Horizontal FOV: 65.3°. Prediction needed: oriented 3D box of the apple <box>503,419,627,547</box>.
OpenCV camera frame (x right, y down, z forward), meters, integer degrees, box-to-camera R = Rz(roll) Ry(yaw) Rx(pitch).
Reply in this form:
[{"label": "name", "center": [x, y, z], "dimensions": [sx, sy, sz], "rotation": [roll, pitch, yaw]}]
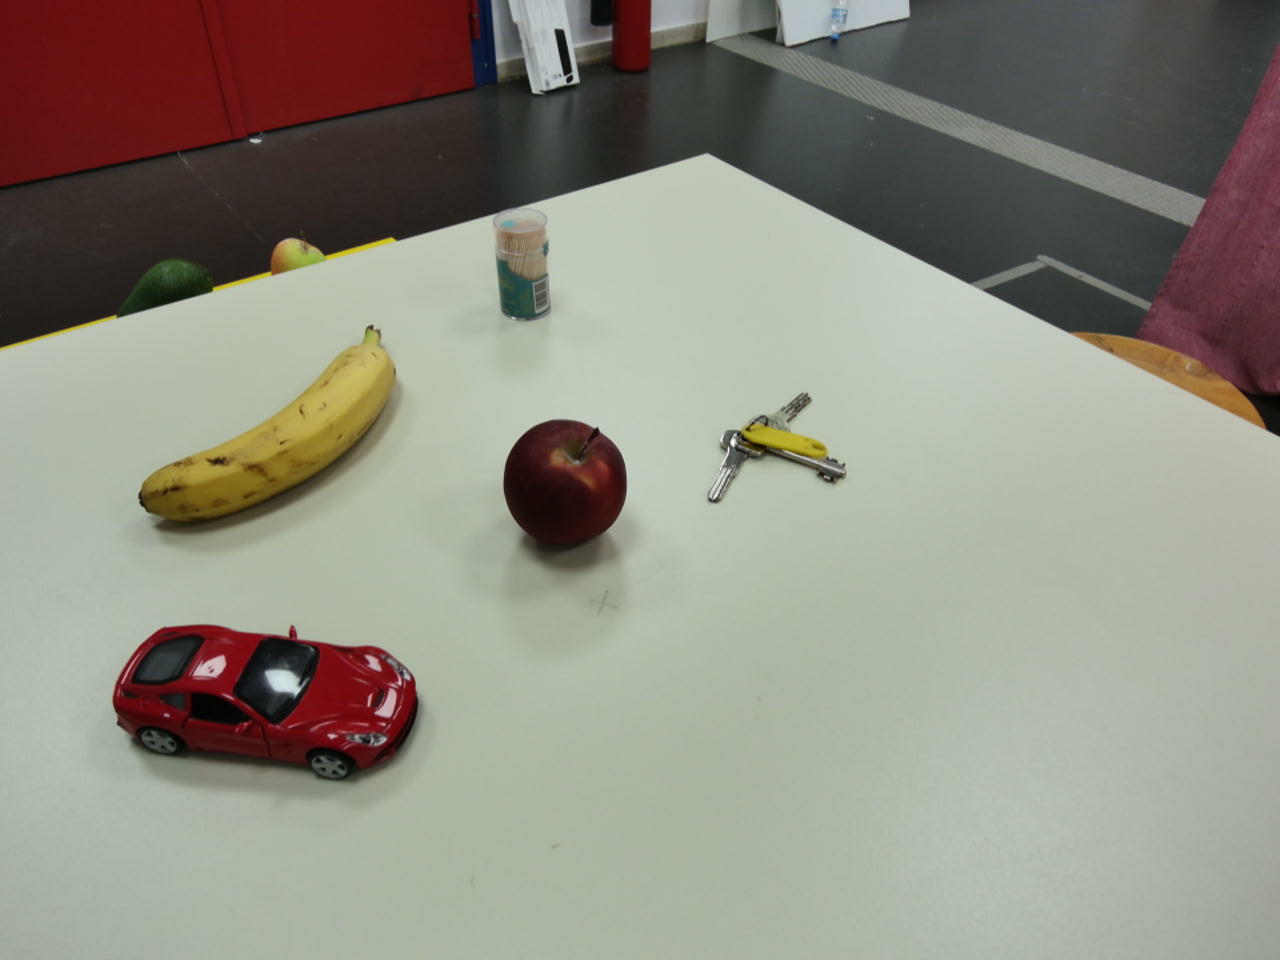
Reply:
[{"label": "apple", "center": [-0.042, 0.003, 0.558], "dimensions": [0.070, 0.072, 0.070], "rotation": [0, 38, 0]}]
